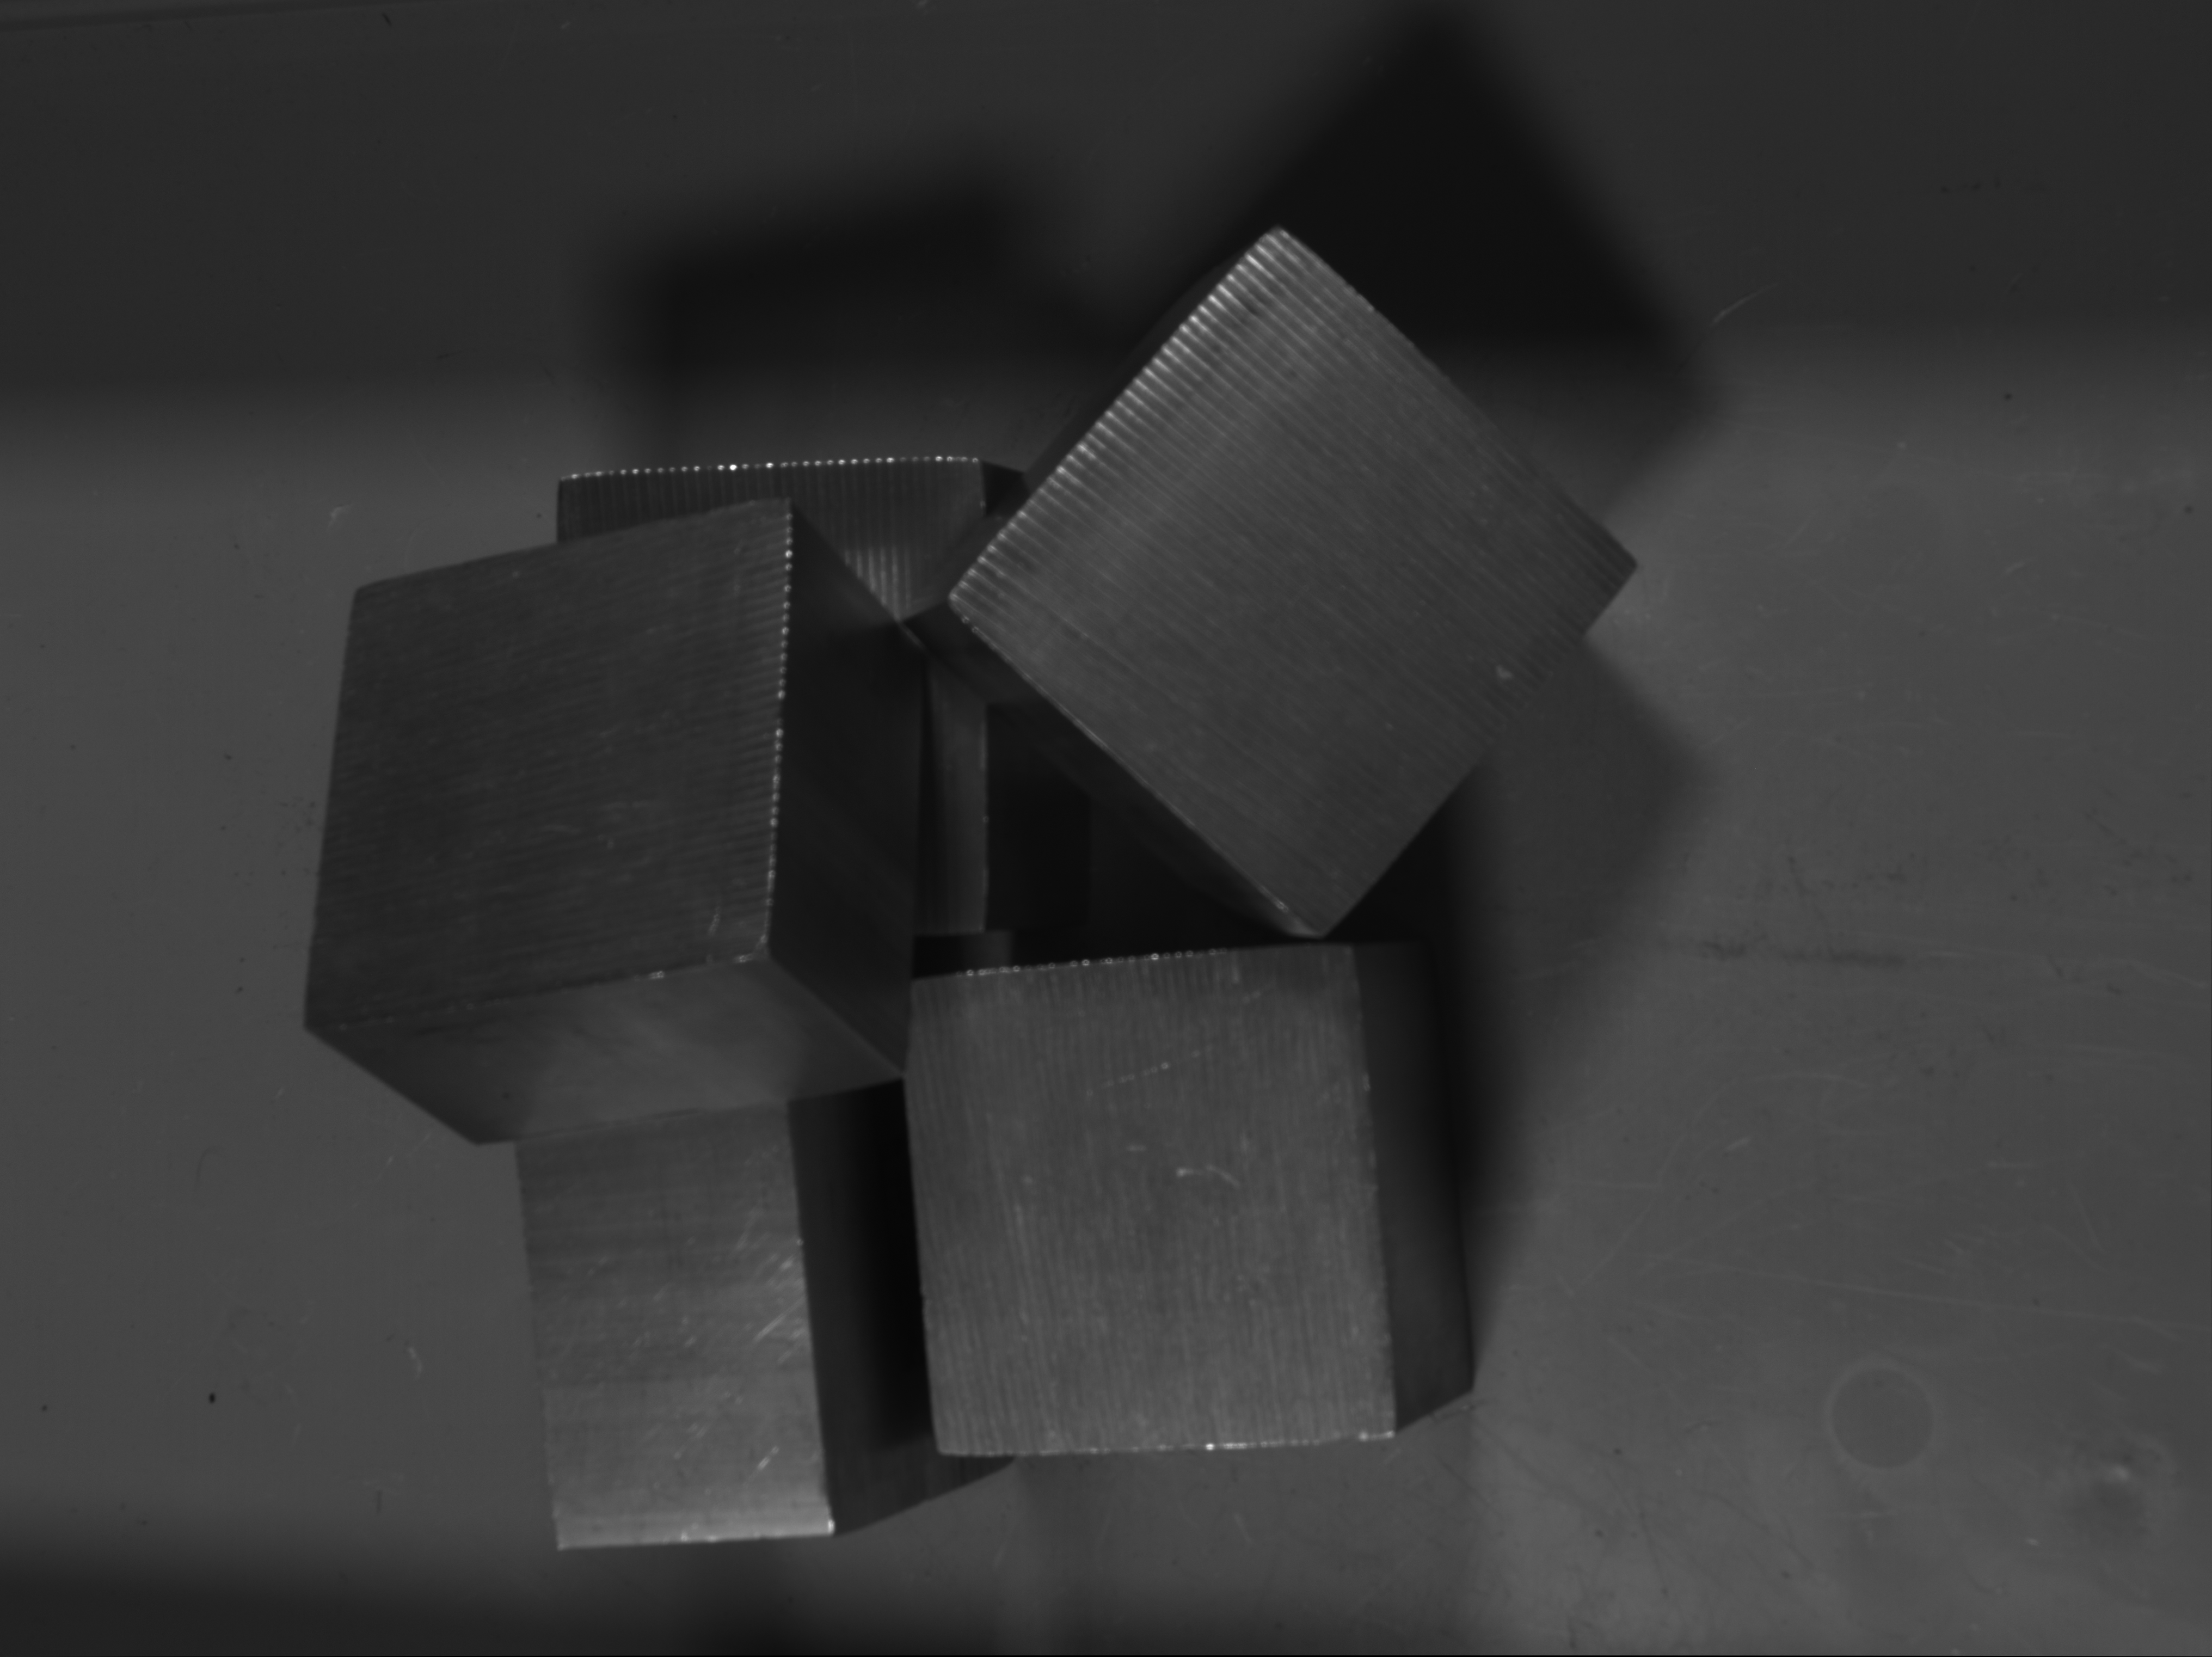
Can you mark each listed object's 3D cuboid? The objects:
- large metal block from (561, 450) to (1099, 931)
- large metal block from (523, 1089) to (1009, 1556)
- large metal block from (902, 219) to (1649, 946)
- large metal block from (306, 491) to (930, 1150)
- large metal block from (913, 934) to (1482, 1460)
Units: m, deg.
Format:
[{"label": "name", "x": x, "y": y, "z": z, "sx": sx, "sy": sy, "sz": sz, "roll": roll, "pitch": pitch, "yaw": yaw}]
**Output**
[{"label": "large metal block", "x": -0.048, "y": -0.022, "z": 0.647, "sx": 0.080, "sy": 0.050, "sz": 0.080, "roll": -1, "pitch": 89, "yaw": 20}, {"label": "large metal block", "x": -0.057, "y": 0.077, "z": 0.634, "sx": 0.050, "sy": 0.080, "sz": 0.080, "roll": -7, "pitch": 87, "yaw": 20}, {"label": "large metal block", "x": 0.026, "y": -0.038, "z": 0.594, "sx": 0.080, "sy": 0.050, "sz": 0.080, "roll": 42, "pitch": 82, "yaw": -9}, {"label": "large metal block", "x": -0.076, "y": 0.000, "z": 0.588, "sx": 0.080, "sy": 0.050, "sz": 0.080, "roll": -10, "pitch": 61, "yaw": 20}, {"label": "large metal block", "x": 0.015, "y": 0.062, "z": 0.622, "sx": 0.080, "sy": 0.050, "sz": 0.080, "roll": -6, "pitch": 88, "yaw": 20}]
